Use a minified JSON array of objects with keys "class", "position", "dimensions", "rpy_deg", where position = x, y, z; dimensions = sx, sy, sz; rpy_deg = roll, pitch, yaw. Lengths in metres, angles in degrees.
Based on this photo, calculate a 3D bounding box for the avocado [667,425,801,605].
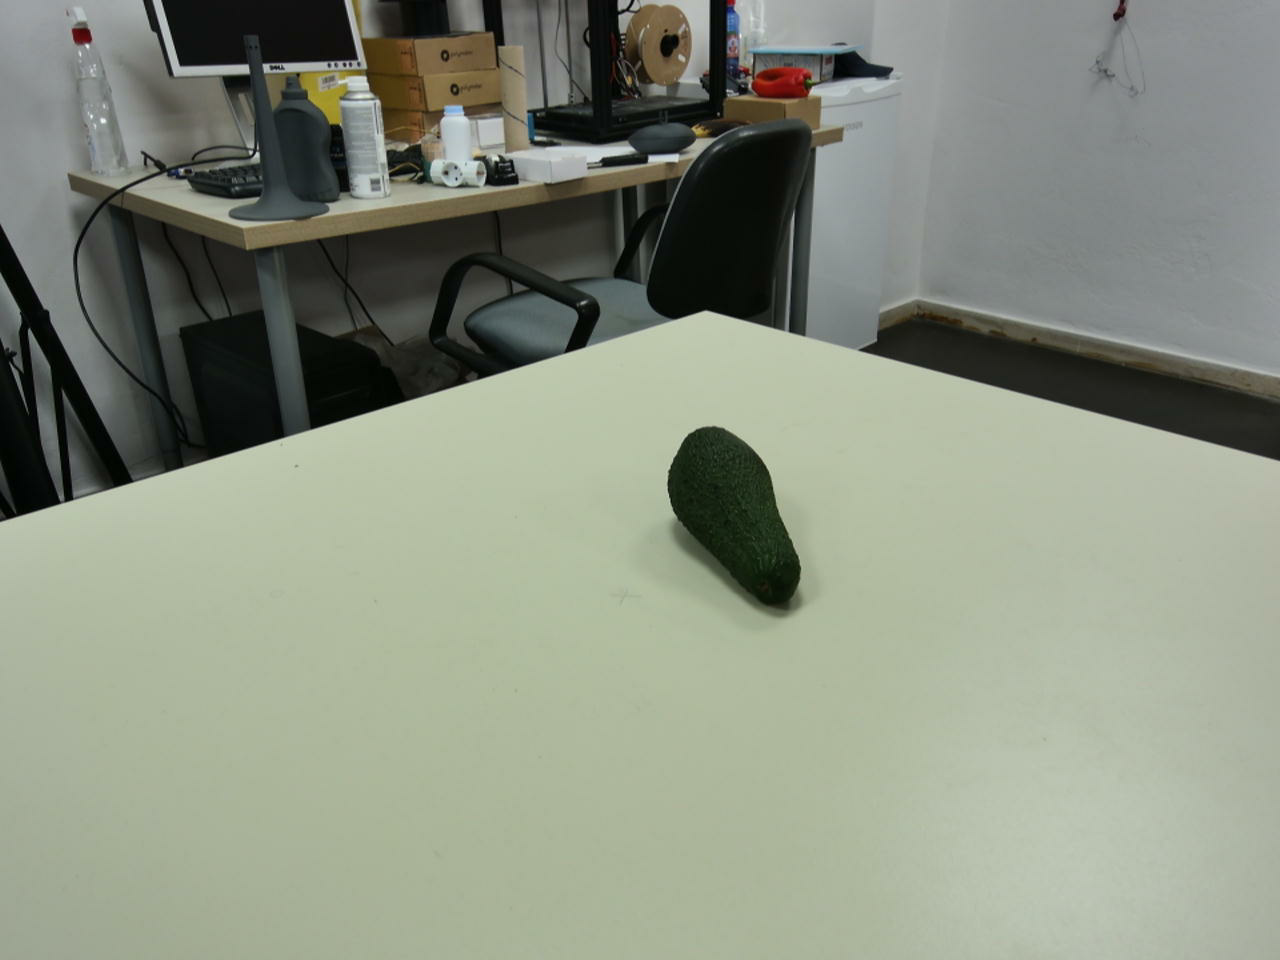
[{"class":"avocado","position":[0.062,0.014,0.593],"dimensions":[0.063,0.067,0.141],"rpy_deg":[-12,27,-24]}]
